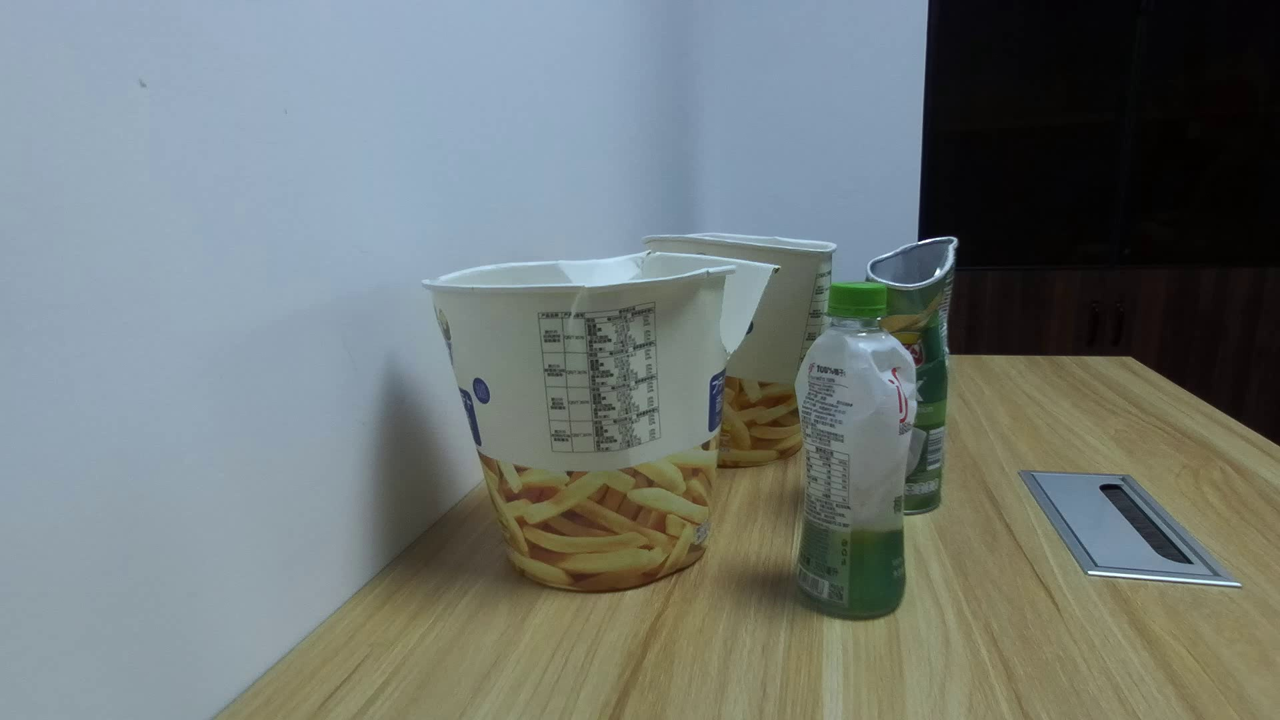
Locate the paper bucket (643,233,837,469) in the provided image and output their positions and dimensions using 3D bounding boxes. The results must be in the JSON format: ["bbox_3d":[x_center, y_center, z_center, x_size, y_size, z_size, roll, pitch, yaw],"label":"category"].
[{"bbox_3d":[0.079,-0.023,0.675,0.217,0.199,0.148,6,18,25],"label":"paper bucket"}]

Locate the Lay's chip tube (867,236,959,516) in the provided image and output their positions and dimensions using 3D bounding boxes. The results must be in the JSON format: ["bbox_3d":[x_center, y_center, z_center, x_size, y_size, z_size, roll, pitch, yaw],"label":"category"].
[{"bbox_3d":[0.194,0.017,0.519,0.079,0.199,0.071,-3,21,3],"label":"Lay's chip tube"}]

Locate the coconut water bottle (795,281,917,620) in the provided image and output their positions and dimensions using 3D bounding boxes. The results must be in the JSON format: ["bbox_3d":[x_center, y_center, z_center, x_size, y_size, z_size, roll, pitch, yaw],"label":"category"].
[{"bbox_3d":[0.124,0.049,0.406,0.067,0.187,0.067,-2,14,1],"label":"coconut water bottle"}]

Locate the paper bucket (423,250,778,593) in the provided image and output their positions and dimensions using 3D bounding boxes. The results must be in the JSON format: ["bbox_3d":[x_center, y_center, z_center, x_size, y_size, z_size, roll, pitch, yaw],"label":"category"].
[{"bbox_3d":[-0.023,0.032,0.484,0.203,0.197,0.145,-12,19,-29],"label":"paper bucket"}]
